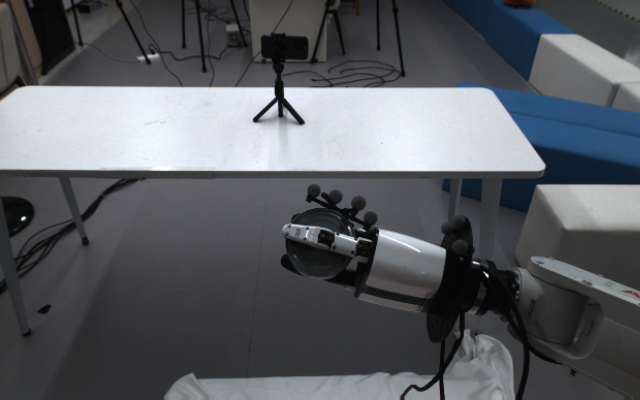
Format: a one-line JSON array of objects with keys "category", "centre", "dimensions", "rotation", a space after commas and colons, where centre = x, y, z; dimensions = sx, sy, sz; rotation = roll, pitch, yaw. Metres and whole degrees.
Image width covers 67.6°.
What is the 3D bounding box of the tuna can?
[{"category": "tuna can", "centre": [0.003, 0.053, 0.596], "dimensions": [0.085, 0.034, 0.085], "rotation": [0, 72, 0]}]
